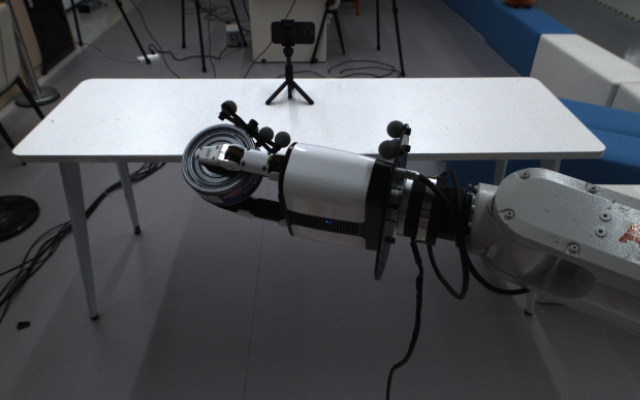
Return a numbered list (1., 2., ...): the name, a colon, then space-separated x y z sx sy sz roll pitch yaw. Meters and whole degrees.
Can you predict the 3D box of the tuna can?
1. tuna can: -0.104 -0.040 0.531 0.085 0.034 0.085 -4 69 10
